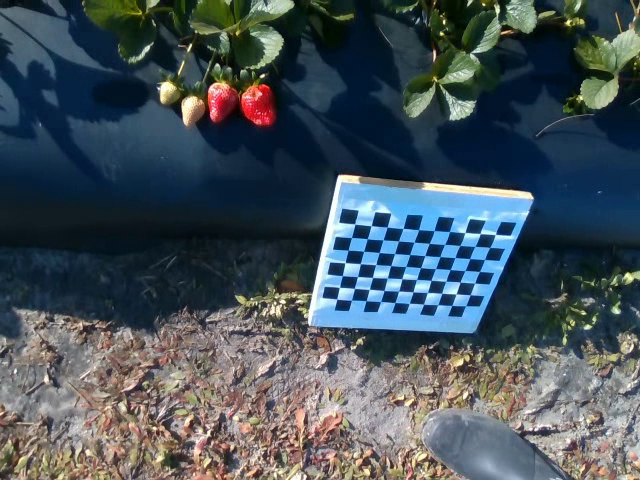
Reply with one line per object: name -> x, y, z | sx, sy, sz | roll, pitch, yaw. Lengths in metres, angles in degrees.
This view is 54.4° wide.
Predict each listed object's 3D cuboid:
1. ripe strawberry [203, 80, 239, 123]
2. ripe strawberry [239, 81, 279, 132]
ripe strawberry -> -0.129, -0.178, 0.789 | 0.050, 0.061, 0.043 | 24, -16, -26
ripe strawberry -> -0.075, -0.173, 0.794 | 0.056, 0.067, 0.051 | -38, -22, 18
